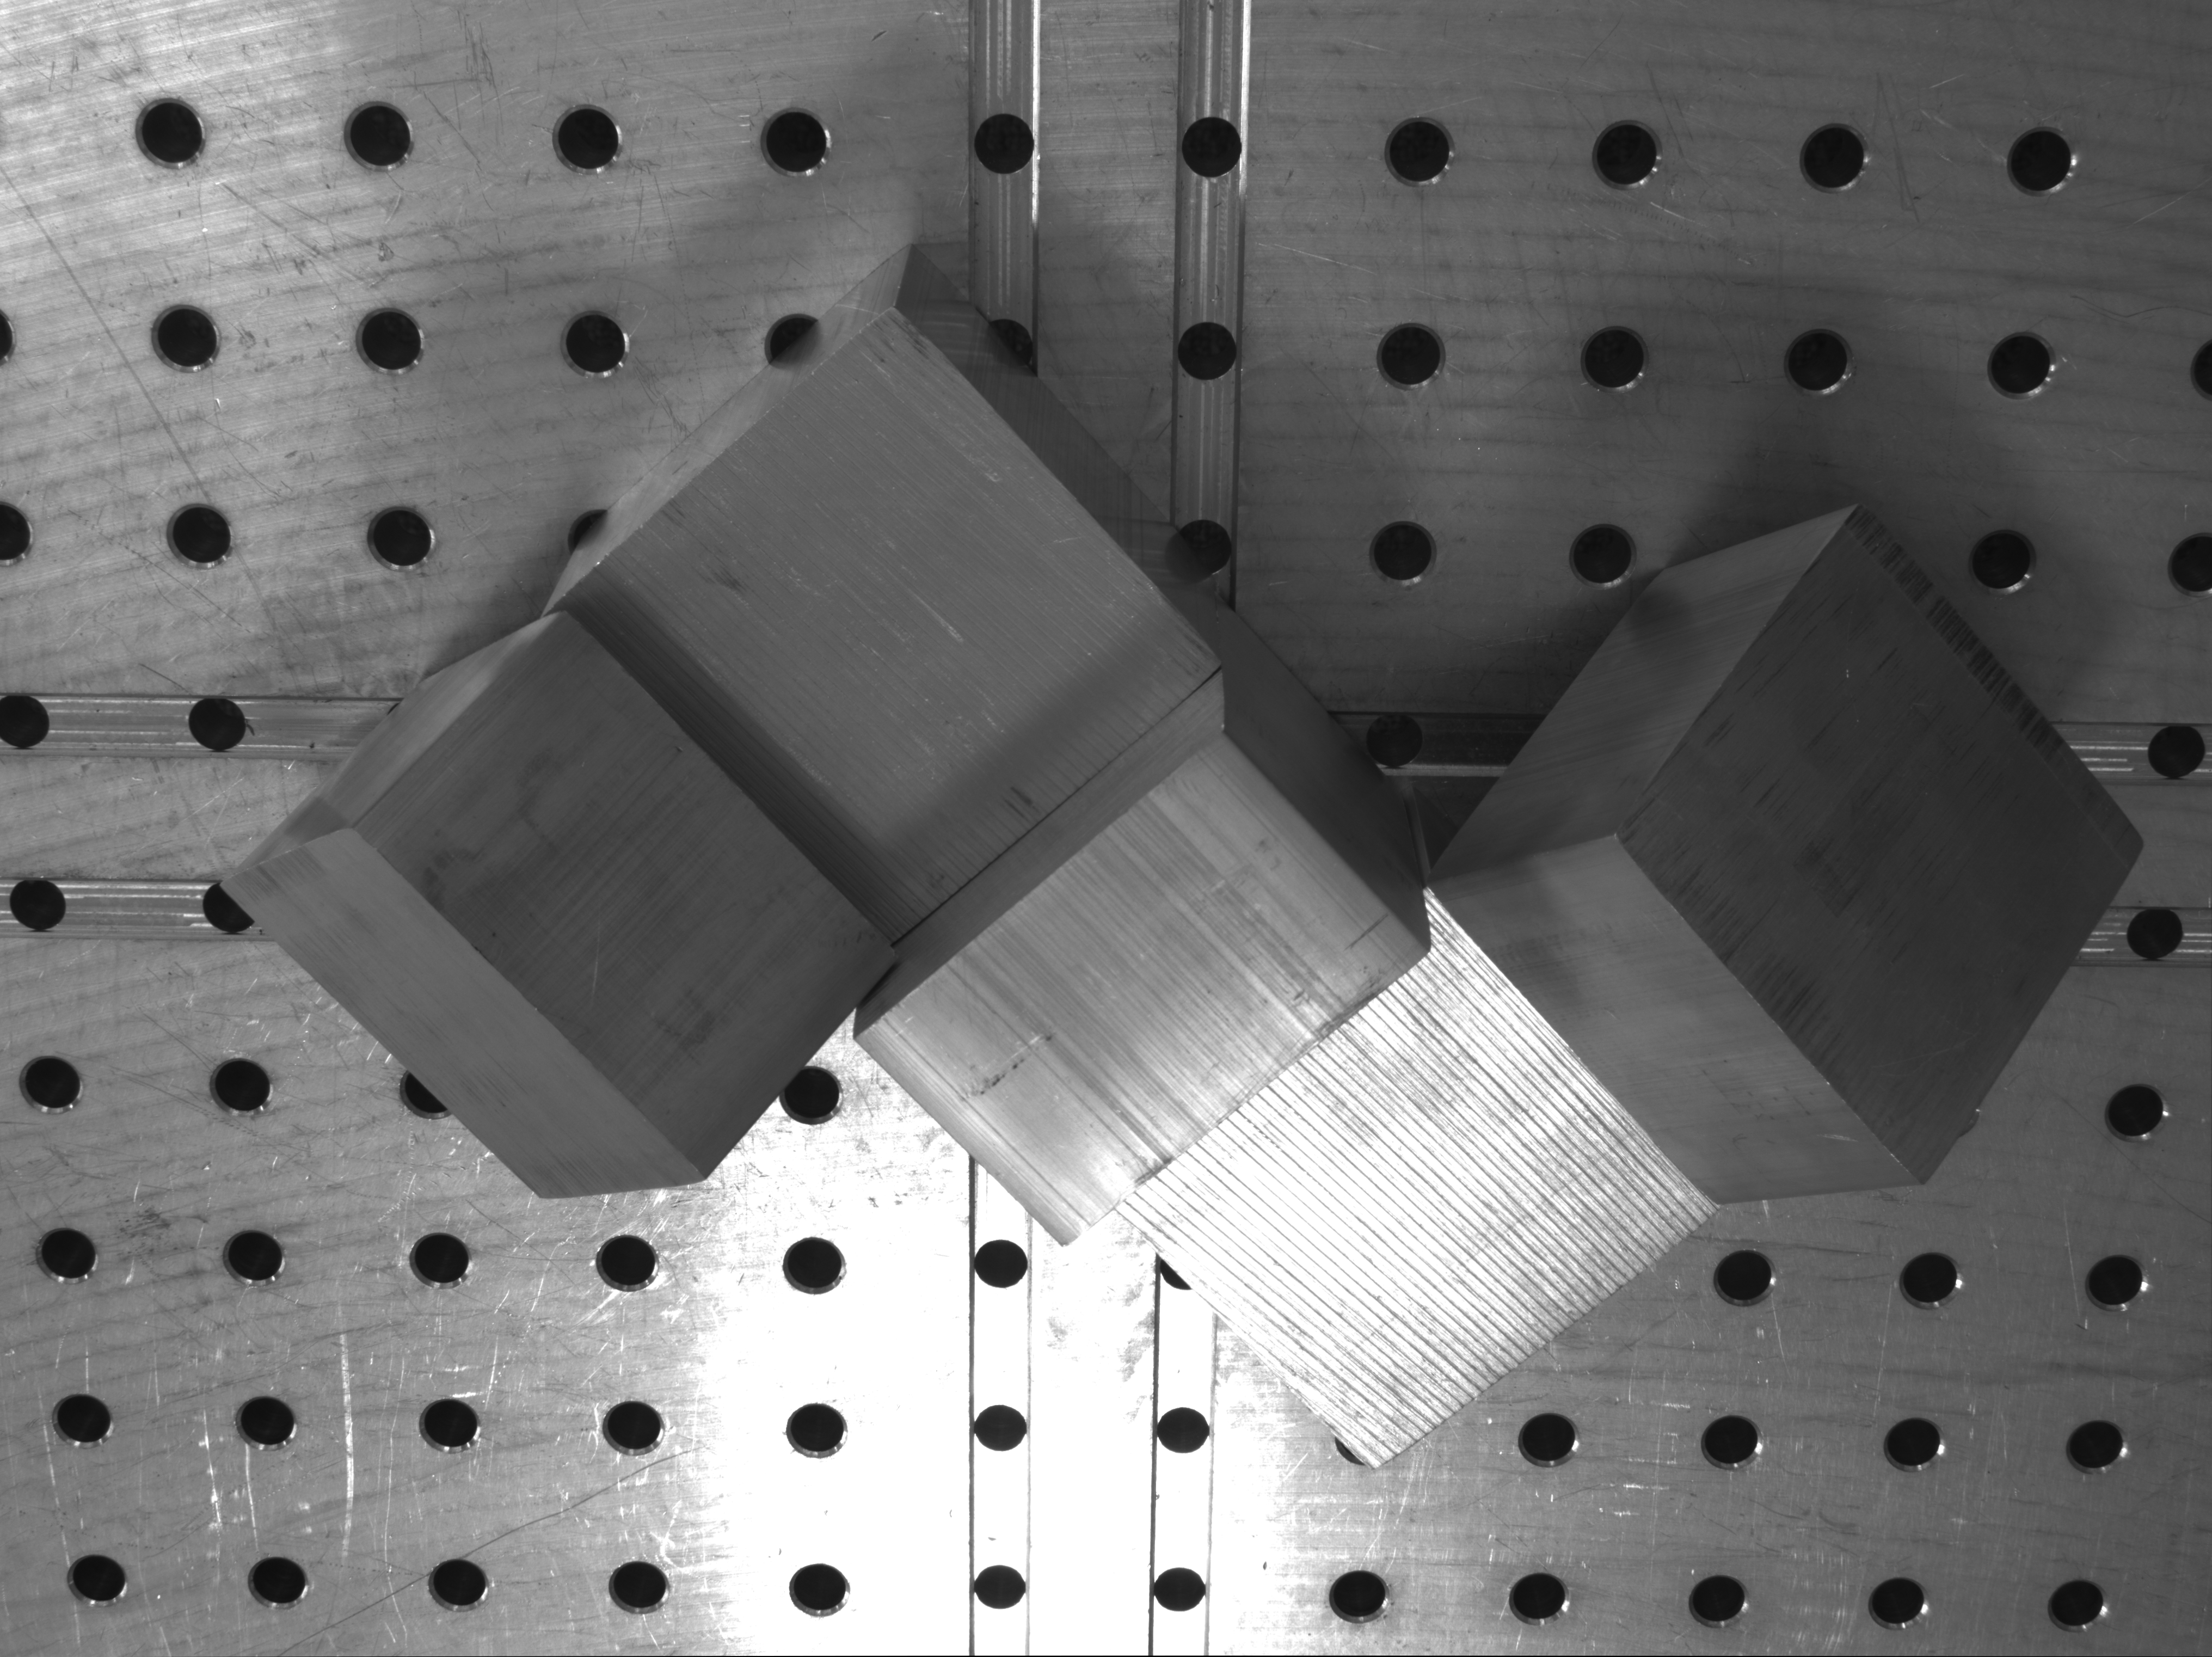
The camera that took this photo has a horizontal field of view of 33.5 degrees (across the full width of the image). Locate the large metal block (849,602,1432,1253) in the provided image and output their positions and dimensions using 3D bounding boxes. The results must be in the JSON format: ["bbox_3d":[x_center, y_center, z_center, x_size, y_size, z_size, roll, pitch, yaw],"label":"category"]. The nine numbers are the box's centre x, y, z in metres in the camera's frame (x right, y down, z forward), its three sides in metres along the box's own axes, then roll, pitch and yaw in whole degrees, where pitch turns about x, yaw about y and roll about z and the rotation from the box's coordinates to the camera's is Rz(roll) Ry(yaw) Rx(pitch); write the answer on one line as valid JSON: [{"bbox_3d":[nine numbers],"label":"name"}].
[{"bbox_3d":[0.005,0.013,0.622,0.080,0.080,0.050,-41,106,13],"label":"large metal block"}]

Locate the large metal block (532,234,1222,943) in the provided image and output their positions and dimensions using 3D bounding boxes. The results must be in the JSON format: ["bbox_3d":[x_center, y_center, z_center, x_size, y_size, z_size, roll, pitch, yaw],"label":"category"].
[{"bbox_3d":[-0.037,-0.039,0.619,0.080,0.050,0.080,-40,106,14],"label":"large metal block"}]

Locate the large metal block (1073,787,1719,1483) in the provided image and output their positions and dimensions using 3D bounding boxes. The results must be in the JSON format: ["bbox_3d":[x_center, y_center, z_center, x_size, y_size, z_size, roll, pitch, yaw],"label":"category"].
[{"bbox_3d":[0.049,0.054,0.653,0.080,0.050,0.080,-39,104,13],"label":"large metal block"}]

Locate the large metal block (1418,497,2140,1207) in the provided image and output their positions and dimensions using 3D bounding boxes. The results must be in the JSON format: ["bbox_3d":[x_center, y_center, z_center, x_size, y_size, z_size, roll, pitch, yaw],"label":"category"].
[{"bbox_3d":[0.113,0.005,0.613,0.080,0.050,0.080,47,63,-15],"label":"large metal block"}]

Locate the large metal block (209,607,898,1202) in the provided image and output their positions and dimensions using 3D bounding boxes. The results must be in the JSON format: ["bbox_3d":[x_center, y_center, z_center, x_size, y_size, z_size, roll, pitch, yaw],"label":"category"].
[{"bbox_3d":[-0.094,0.016,0.615,0.080,0.080,0.050,47,65,-15],"label":"large metal block"}]
